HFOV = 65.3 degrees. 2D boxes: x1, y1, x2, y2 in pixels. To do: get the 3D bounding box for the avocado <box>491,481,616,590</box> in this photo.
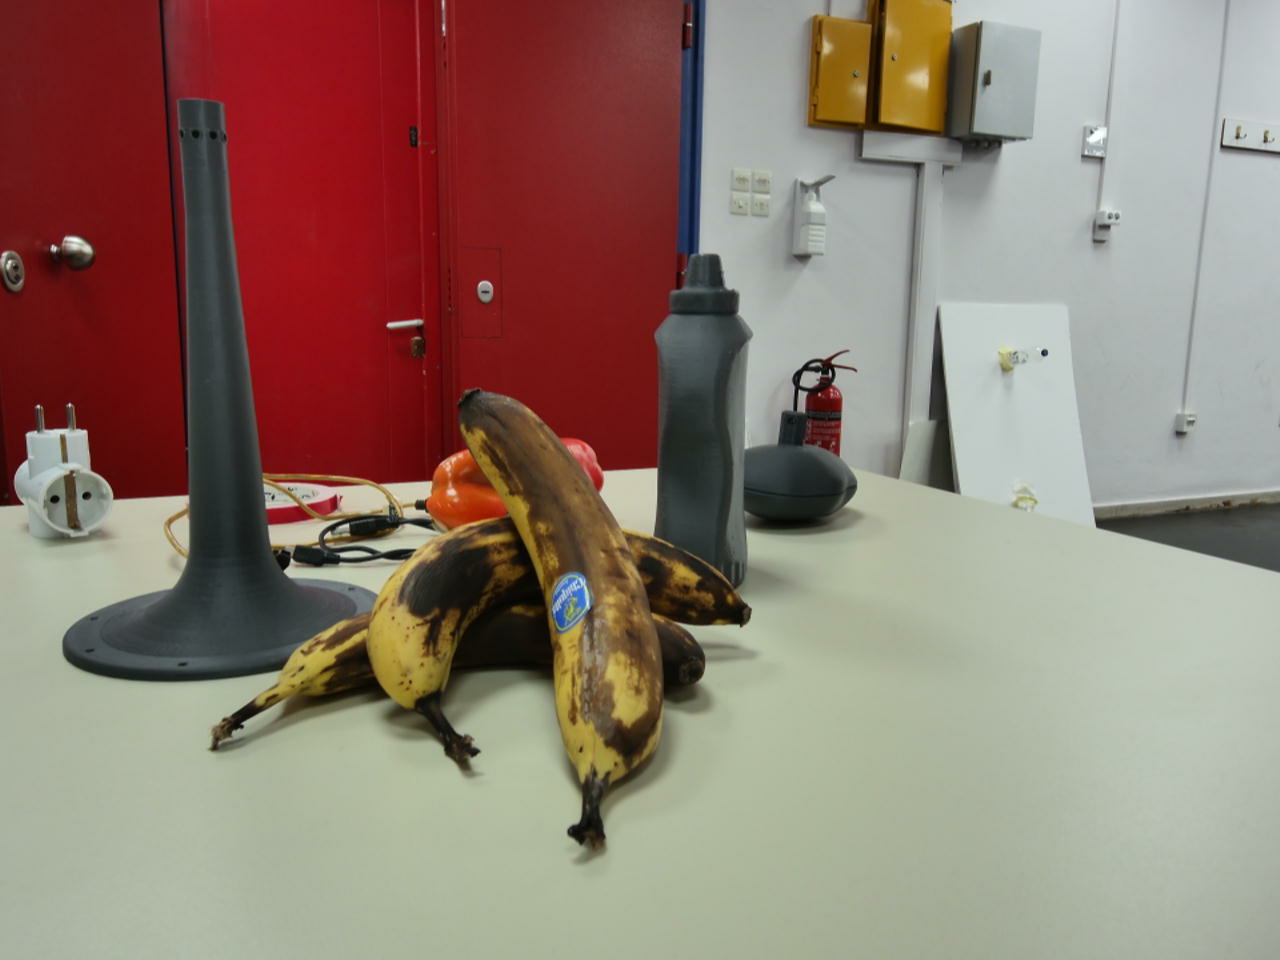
[{"bbox_3d":[-0.054,0.033,0.597,0.062,0.062,0.092,8,11,41],"label":"avocado"}]
